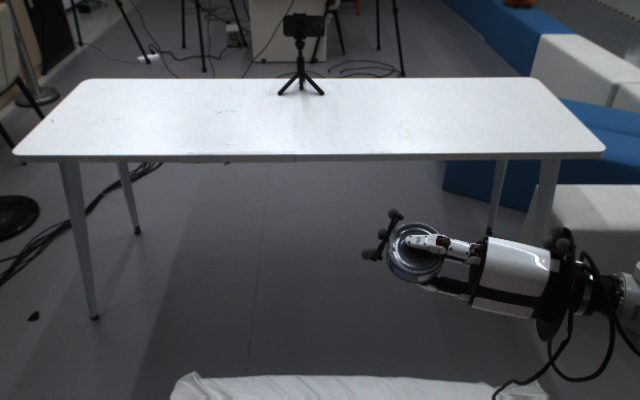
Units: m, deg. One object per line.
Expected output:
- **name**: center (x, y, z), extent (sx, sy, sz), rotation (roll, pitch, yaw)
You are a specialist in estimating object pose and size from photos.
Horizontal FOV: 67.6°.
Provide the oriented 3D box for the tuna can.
- **tuna can**: center (0.143, 0.075, 0.713), extent (0.085, 0.034, 0.085), rotation (-1, 60, 1)
